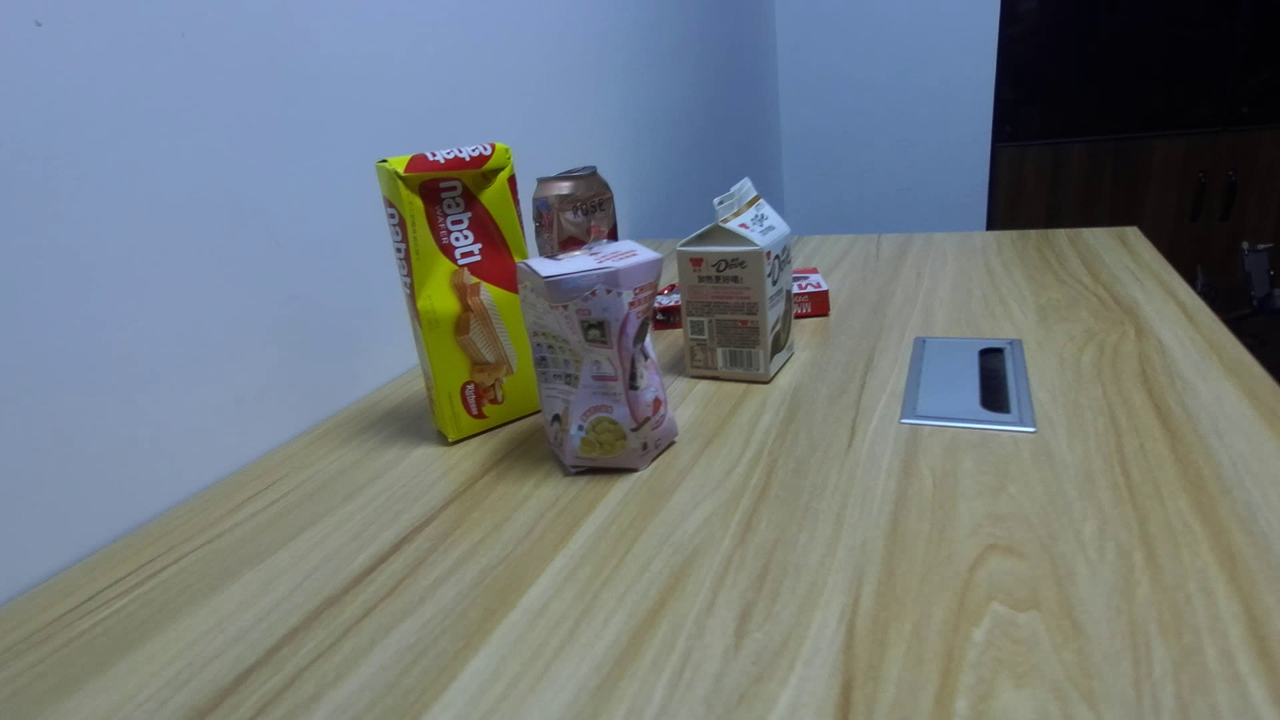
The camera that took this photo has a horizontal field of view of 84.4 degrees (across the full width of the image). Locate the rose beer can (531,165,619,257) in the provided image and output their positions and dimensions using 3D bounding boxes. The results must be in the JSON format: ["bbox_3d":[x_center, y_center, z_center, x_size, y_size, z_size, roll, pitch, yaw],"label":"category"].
[{"bbox_3d":[-0.053,-0.086,0.639,0.076,0.167,0.065,-18,21,-25],"label":"rose beer can"}]

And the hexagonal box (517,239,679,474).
[{"bbox_3d":[-0.026,-0.001,0.458,0.093,0.135,0.088,-5,21,1],"label":"hexagonal box"}]

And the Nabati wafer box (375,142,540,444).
[{"bbox_3d":[-0.121,-0.049,0.518,0.097,0.203,0.042,-17,21,-29],"label":"Nabati wafer box"}]

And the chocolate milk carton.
[{"bbox_3d":[0.079,-0.066,0.566,0.074,0.148,0.075,5,23,27],"label":"chocolate milk carton"}]
